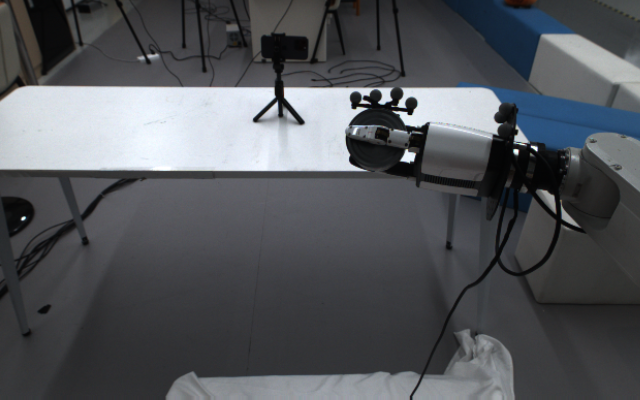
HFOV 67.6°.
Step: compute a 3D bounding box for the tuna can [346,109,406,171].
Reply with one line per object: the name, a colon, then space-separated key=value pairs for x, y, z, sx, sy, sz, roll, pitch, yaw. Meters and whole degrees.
tuna can: x=0.080 y=-0.089 z=0.683 sx=0.085 sy=0.085 sz=0.034 roll=11 pitch=-7 yaw=12
